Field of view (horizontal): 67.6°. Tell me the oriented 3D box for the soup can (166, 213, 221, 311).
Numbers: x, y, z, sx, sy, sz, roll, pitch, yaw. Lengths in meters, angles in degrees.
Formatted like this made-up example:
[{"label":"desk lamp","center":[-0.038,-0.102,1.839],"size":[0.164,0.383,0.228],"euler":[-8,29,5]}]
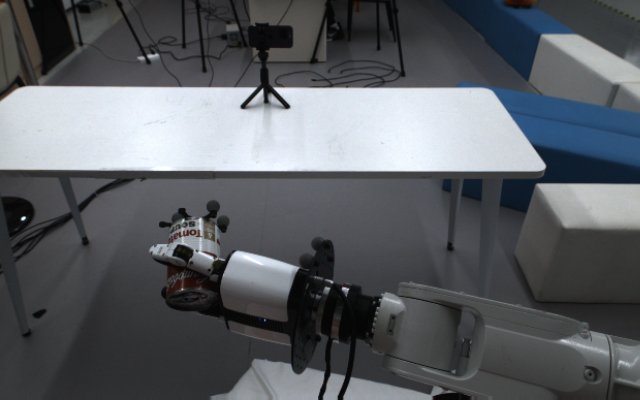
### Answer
[{"label":"soup can","center":[-0.159,0.082,0.615],"size":[0.067,0.067,0.101],"euler":[-5,57,-9]}]
